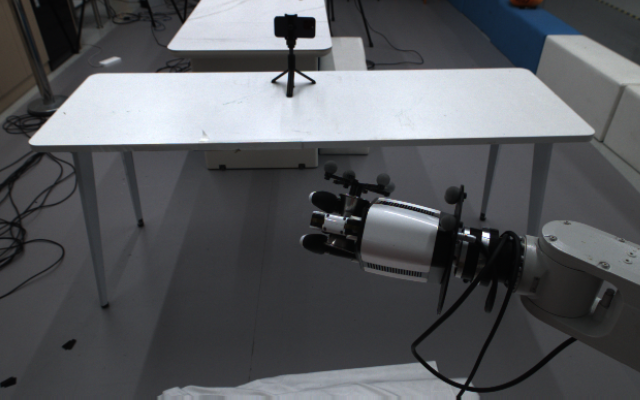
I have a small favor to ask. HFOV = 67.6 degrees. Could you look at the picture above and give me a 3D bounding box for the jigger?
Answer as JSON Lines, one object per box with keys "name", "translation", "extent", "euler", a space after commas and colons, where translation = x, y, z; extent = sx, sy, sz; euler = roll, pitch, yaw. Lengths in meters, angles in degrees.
{"name": "jigger", "translation": [0.037, 0.030, 0.615], "extent": [0.043, 0.071, 0.043], "euler": [15, -7, 2]}
